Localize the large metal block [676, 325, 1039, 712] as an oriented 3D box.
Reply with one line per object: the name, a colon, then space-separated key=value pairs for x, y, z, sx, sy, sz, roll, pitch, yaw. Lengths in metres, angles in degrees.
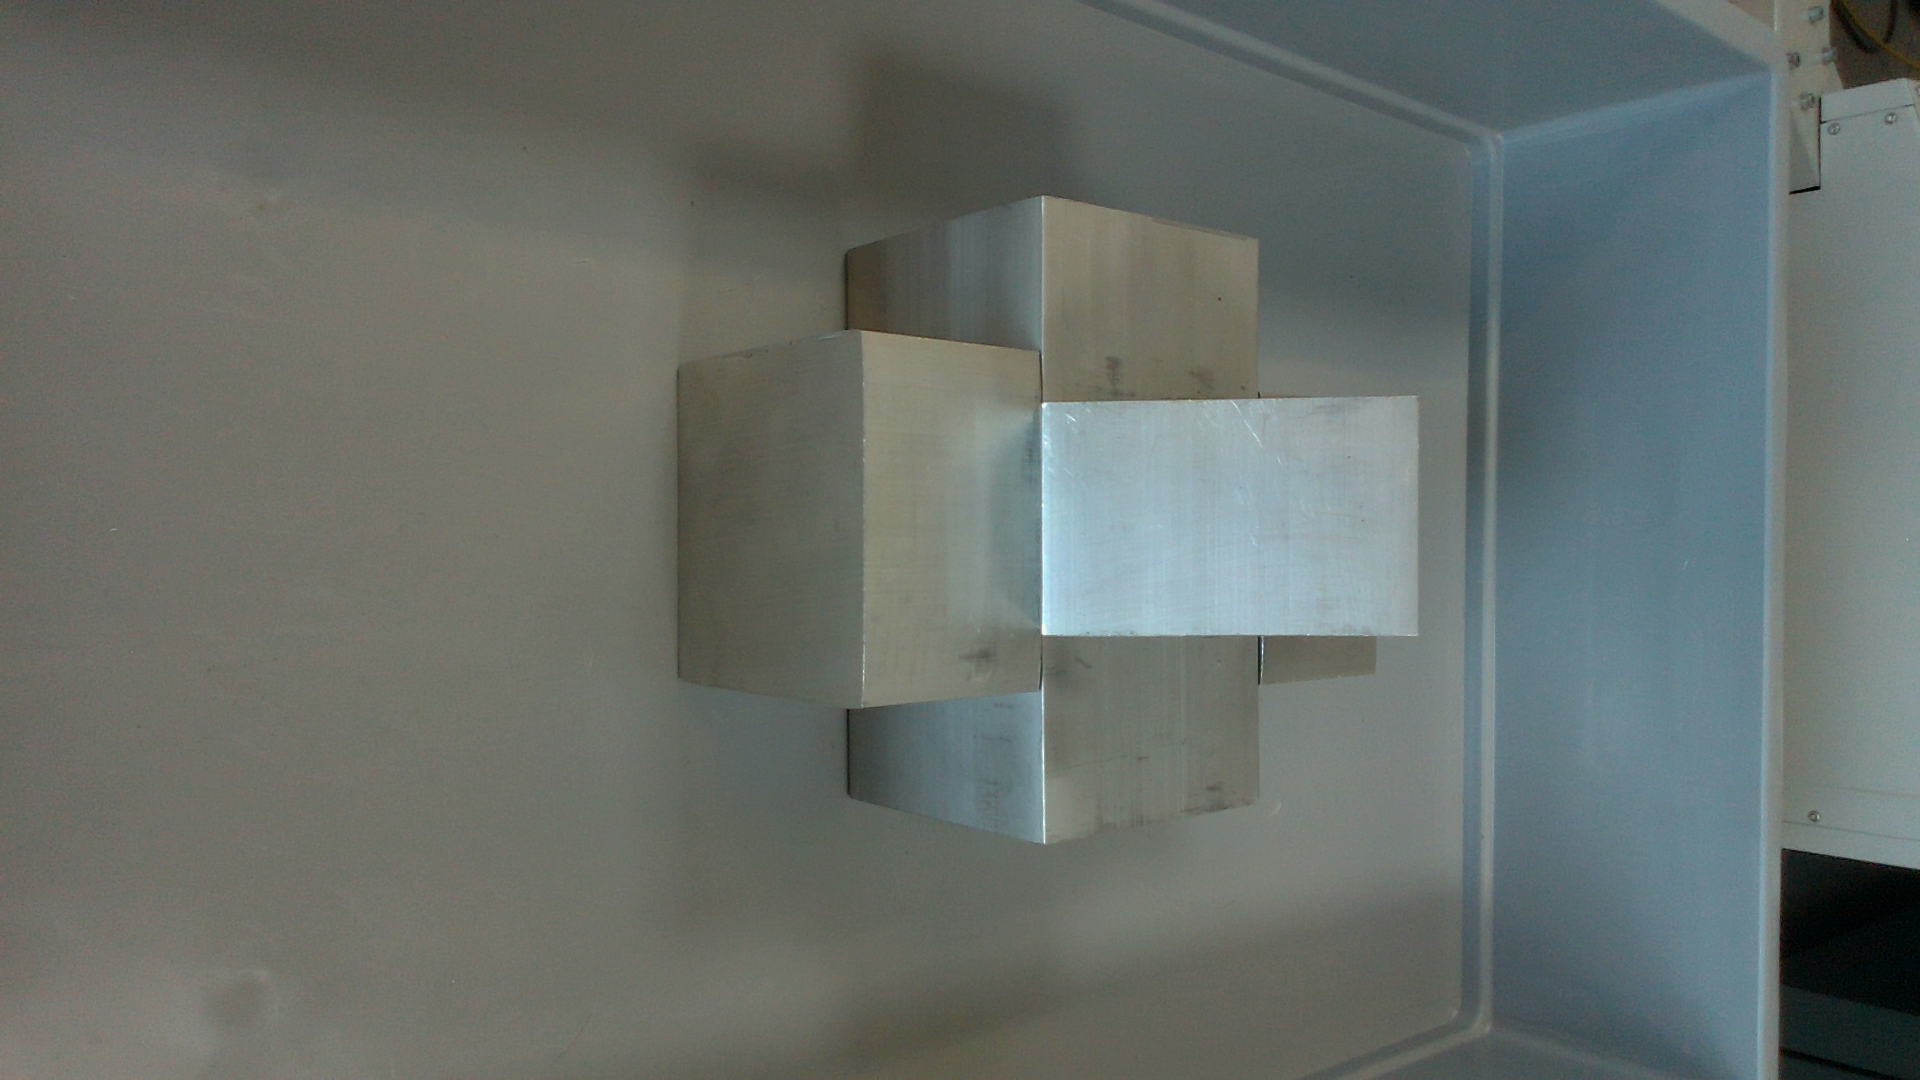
large metal block: x=-0.027 y=-0.004 z=0.331 sx=0.050 sy=0.080 sz=0.080 roll=0 pitch=90 yaw=-40

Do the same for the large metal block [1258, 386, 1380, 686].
large metal block: x=0.077 y=-0.001 z=0.414 sx=0.050 sy=0.080 sz=0.080 roll=0 pitch=90 yaw=-40

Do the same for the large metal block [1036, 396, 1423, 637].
large metal block: x=0.060 y=-0.005 z=0.329 sx=0.080 sy=0.080 sz=0.050 roll=-1 pitch=91 yaw=-85

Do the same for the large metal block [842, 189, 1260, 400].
large metal block: x=0.024 y=-0.056 z=0.372 sx=0.080 sy=0.080 sz=0.050 roll=0 pitch=90 yaw=-40

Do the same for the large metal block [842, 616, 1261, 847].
large metal block: x=0.024 y=0.045 z=0.372 sx=0.080 sy=0.080 sz=0.050 roll=0 pitch=90 yaw=-40
